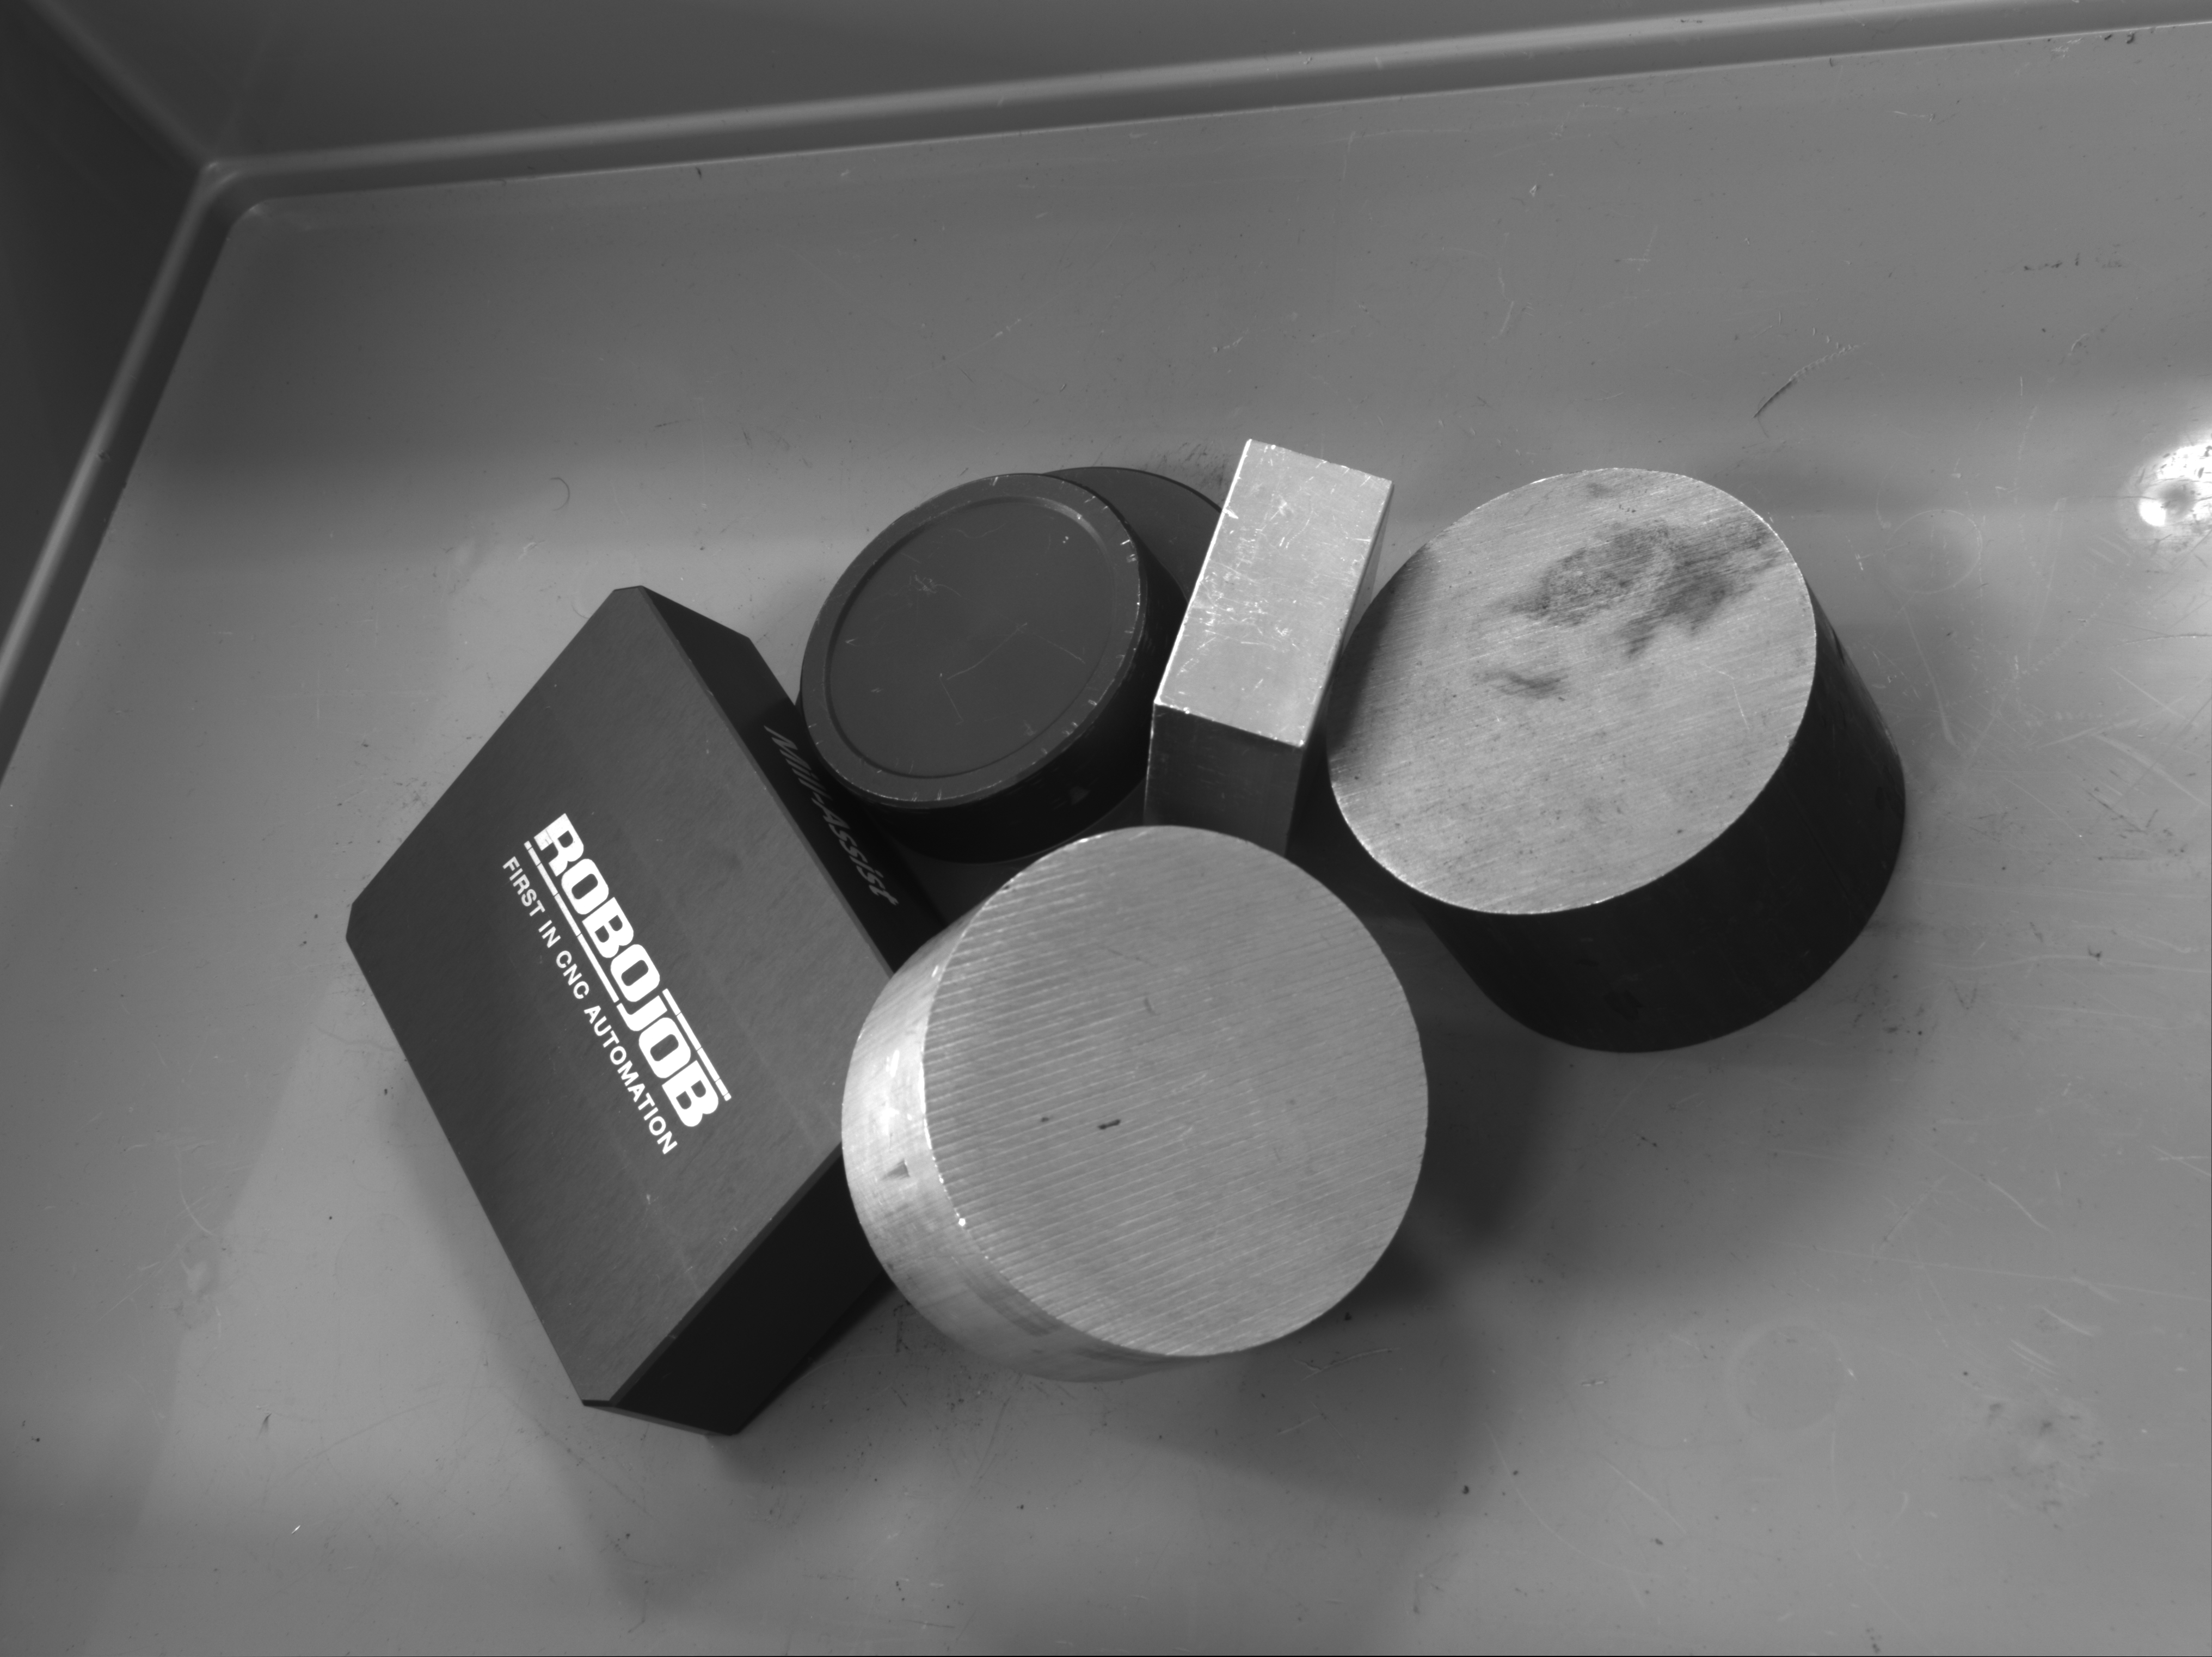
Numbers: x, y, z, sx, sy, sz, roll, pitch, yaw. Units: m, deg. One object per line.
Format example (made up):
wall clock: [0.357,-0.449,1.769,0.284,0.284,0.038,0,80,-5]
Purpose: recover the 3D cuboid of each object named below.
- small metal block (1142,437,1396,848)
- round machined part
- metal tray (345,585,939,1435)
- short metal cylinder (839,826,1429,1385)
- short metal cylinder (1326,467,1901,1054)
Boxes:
small metal block: [0.026,-0.028,0.607,0.025,0.050,0.050,17,67,6]
round machined part: [-0.015,-0.024,0.656,0.098,0.042,0.098,-14,56,21]
metal tray: [-0.077,0.030,0.649,0.090,0.030,0.130,-48,49,14]
short metal cylinder: [0.003,0.044,0.571,0.080,0.080,0.050,-67,12,-19]
short metal cylinder: [0.082,-0.011,0.590,0.080,0.050,0.080,-14,56,21]
